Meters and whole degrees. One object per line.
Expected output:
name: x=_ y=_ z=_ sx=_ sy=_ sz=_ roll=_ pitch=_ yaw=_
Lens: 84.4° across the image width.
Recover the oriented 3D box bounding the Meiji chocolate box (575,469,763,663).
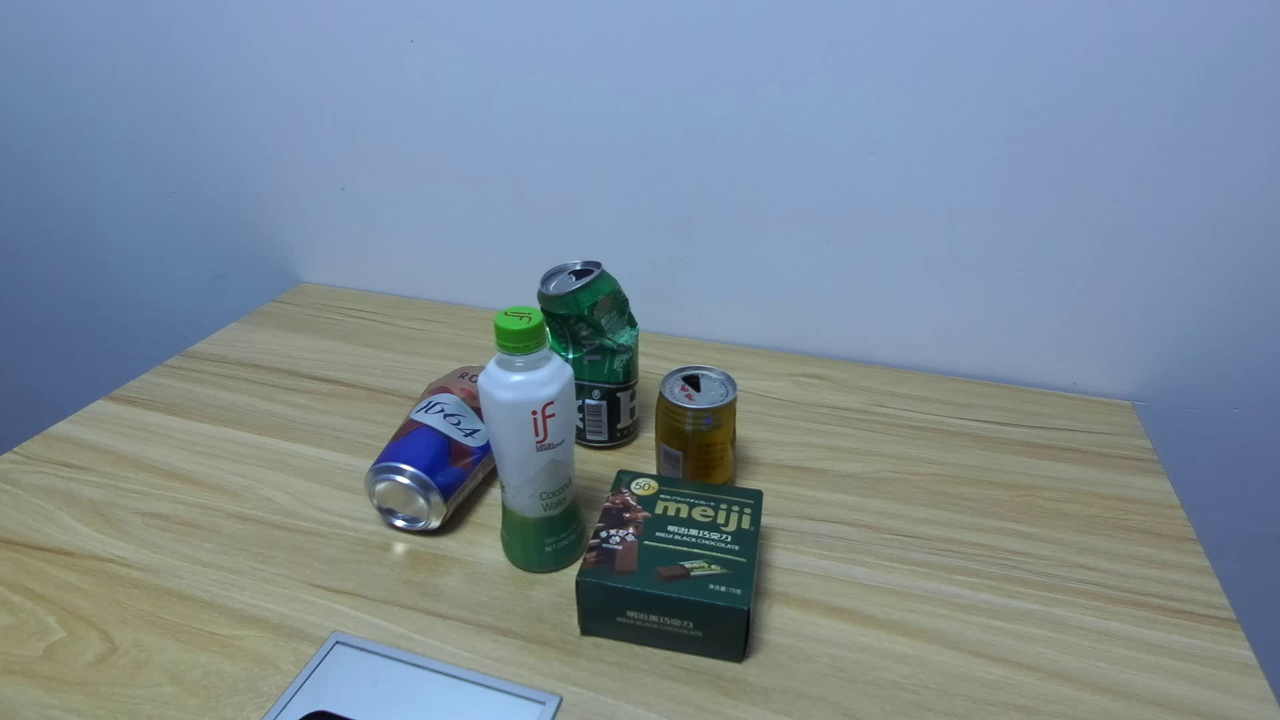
Meiji chocolate box: x=0.024 y=0.134 z=0.476 sx=0.110 sy=0.056 sz=0.109 roll=7 pitch=32 yaw=11

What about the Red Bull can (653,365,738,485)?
Red Bull can: x=0.045 y=0.059 z=0.560 sx=0.069 sy=0.092 sz=0.069 roll=0 pitch=29 yaw=1

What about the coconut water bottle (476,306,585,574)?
coconut water bottle: x=-0.072 y=0.056 z=0.477 sx=0.063 sy=0.189 sz=0.063 roll=-1 pitch=31 yaw=1

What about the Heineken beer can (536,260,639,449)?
Heineken beer can: x=-0.037 y=-0.002 z=0.606 sx=0.079 sy=0.159 sz=0.067 roll=-11 pitch=26 yaw=-3

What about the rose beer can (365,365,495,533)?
rose beer can: x=-0.156 y=0.065 z=0.585 sx=0.069 sy=0.069 sz=0.168 roll=-12 pitch=26 yaw=21
